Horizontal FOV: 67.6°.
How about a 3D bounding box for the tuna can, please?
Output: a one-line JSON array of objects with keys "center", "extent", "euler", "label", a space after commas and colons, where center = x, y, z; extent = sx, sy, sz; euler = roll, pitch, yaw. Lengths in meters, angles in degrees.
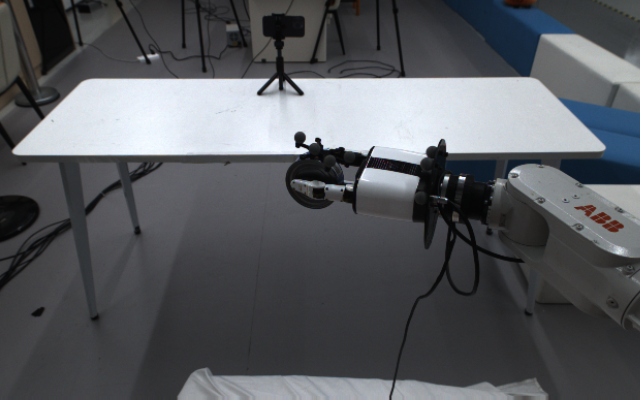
[{"center": [-0.007, -0.031, 0.746], "extent": [0.085, 0.085, 0.034], "euler": [12, 30, 15], "label": "tuna can"}]
